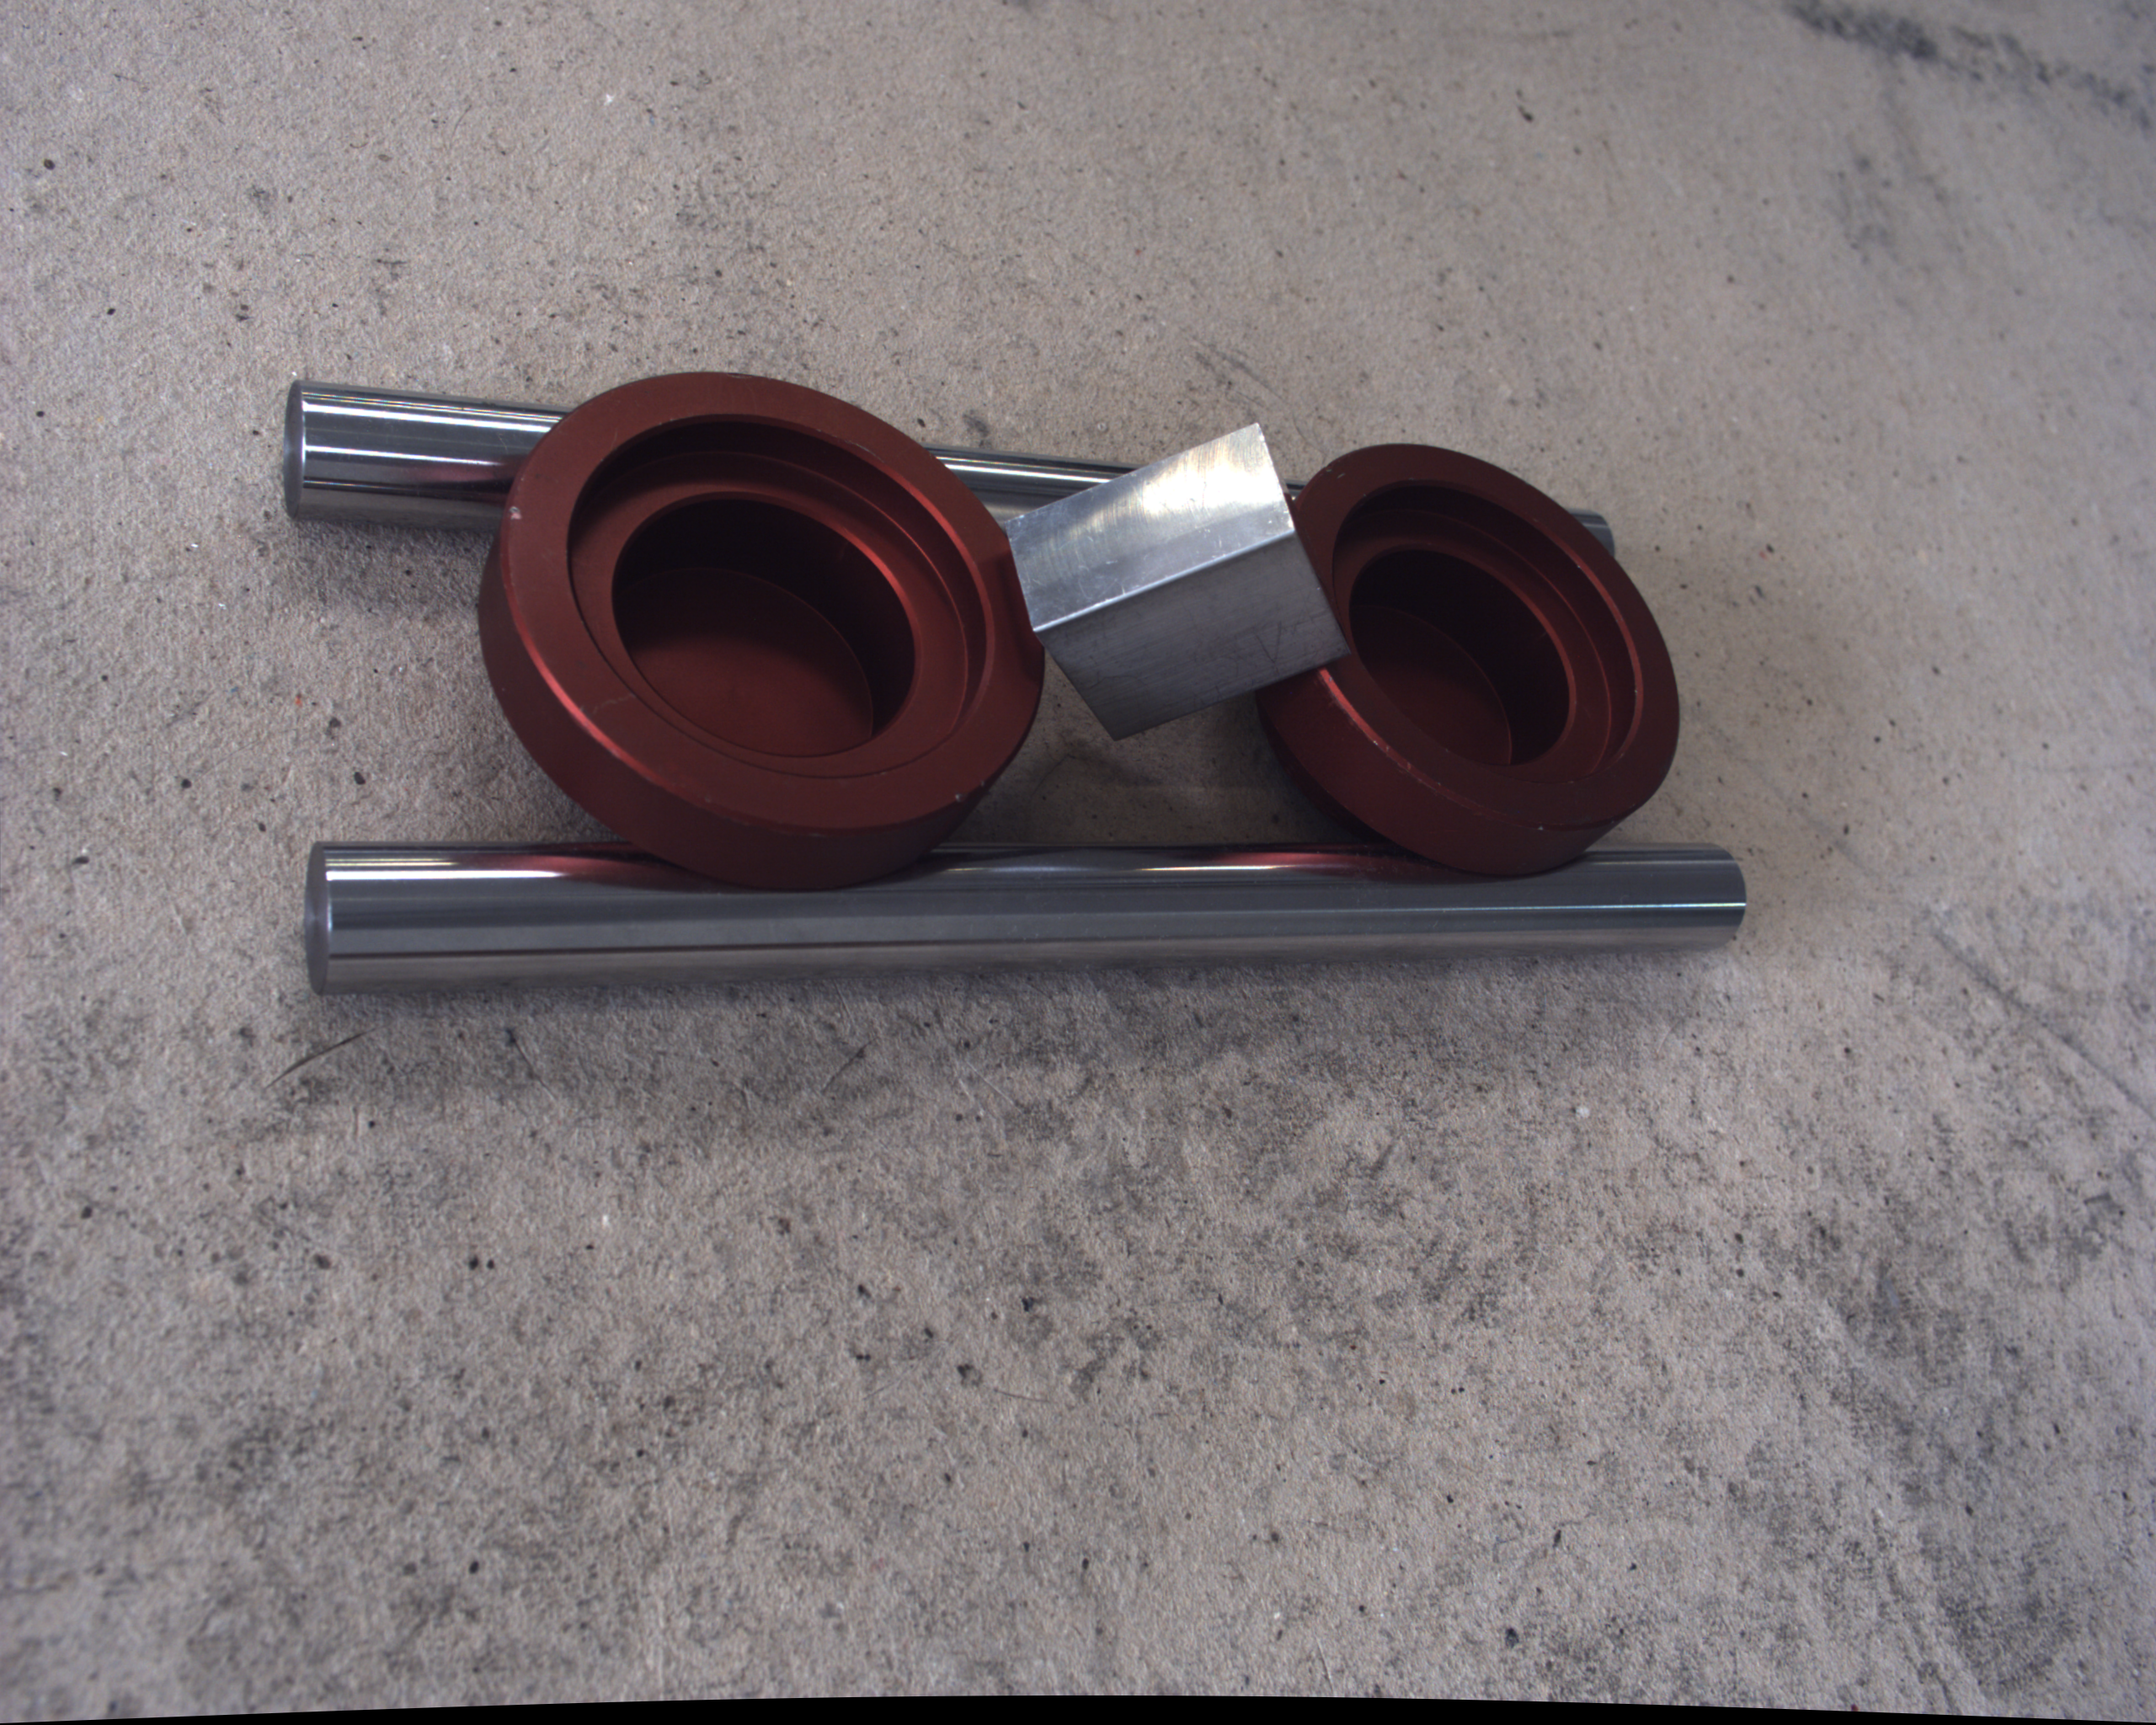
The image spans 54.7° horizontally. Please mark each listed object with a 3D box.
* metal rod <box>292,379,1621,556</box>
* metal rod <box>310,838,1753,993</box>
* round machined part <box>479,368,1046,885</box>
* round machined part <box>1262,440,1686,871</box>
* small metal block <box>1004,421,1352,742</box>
[{"bbox_3d":[-0.007,-0.075,0.446,0.303,0.025,0.025,0,62,-28],"label":"metal rod"},{"bbox_3d":[0.012,0.008,0.406,0.303,0.025,0.025,0,62,-28],"label":"metal rod"},{"bbox_3d":[-0.059,-0.039,0.380,0.099,0.042,0.098,14,56,-21],"label":"round machined part"},{"bbox_3d":[0.079,-0.041,0.455,0.099,0.042,0.098,14,56,-21],"label":"round machined part"},{"bbox_3d":[0.020,-0.052,0.398,0.050,0.050,0.025,-20,64,11],"label":"small metal block"}]
